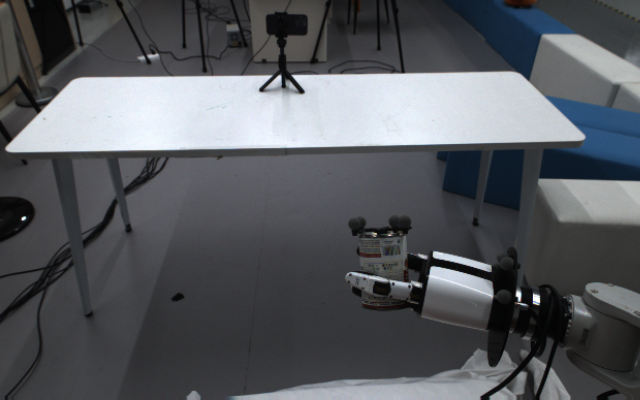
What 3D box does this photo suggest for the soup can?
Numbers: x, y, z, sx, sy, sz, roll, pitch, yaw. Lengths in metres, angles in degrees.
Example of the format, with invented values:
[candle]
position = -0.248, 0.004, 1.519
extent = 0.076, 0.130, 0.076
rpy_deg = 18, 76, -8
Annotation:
[soup can]
position = 0.090, 0.097, 0.671
extent = 0.067, 0.101, 0.067
rpy_deg = -3, -1, 0
